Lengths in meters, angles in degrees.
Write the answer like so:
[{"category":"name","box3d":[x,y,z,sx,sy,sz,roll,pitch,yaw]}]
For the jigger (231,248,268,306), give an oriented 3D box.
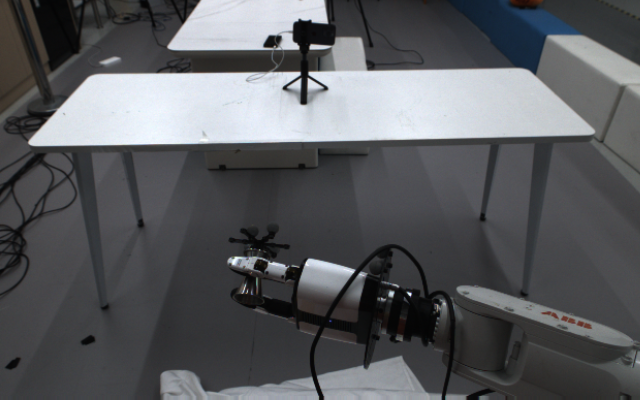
[{"category":"jigger","box3d":[-0.095,0.107,0.678,0.043,0.043,0.071,5,61,4]}]
